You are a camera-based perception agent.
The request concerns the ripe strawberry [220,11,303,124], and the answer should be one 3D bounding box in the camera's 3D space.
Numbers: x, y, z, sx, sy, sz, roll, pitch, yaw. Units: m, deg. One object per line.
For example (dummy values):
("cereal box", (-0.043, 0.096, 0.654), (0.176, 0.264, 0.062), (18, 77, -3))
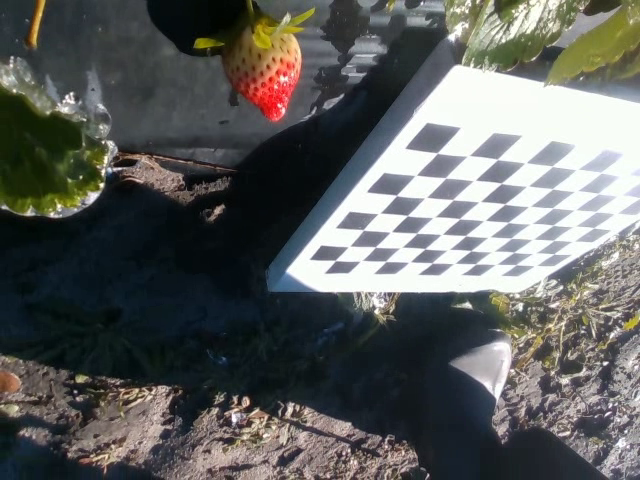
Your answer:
("ripe strawberry", (-0.023, -0.074, 0.271), (0.039, 0.041, 0.053), (-8, -43, -7))
